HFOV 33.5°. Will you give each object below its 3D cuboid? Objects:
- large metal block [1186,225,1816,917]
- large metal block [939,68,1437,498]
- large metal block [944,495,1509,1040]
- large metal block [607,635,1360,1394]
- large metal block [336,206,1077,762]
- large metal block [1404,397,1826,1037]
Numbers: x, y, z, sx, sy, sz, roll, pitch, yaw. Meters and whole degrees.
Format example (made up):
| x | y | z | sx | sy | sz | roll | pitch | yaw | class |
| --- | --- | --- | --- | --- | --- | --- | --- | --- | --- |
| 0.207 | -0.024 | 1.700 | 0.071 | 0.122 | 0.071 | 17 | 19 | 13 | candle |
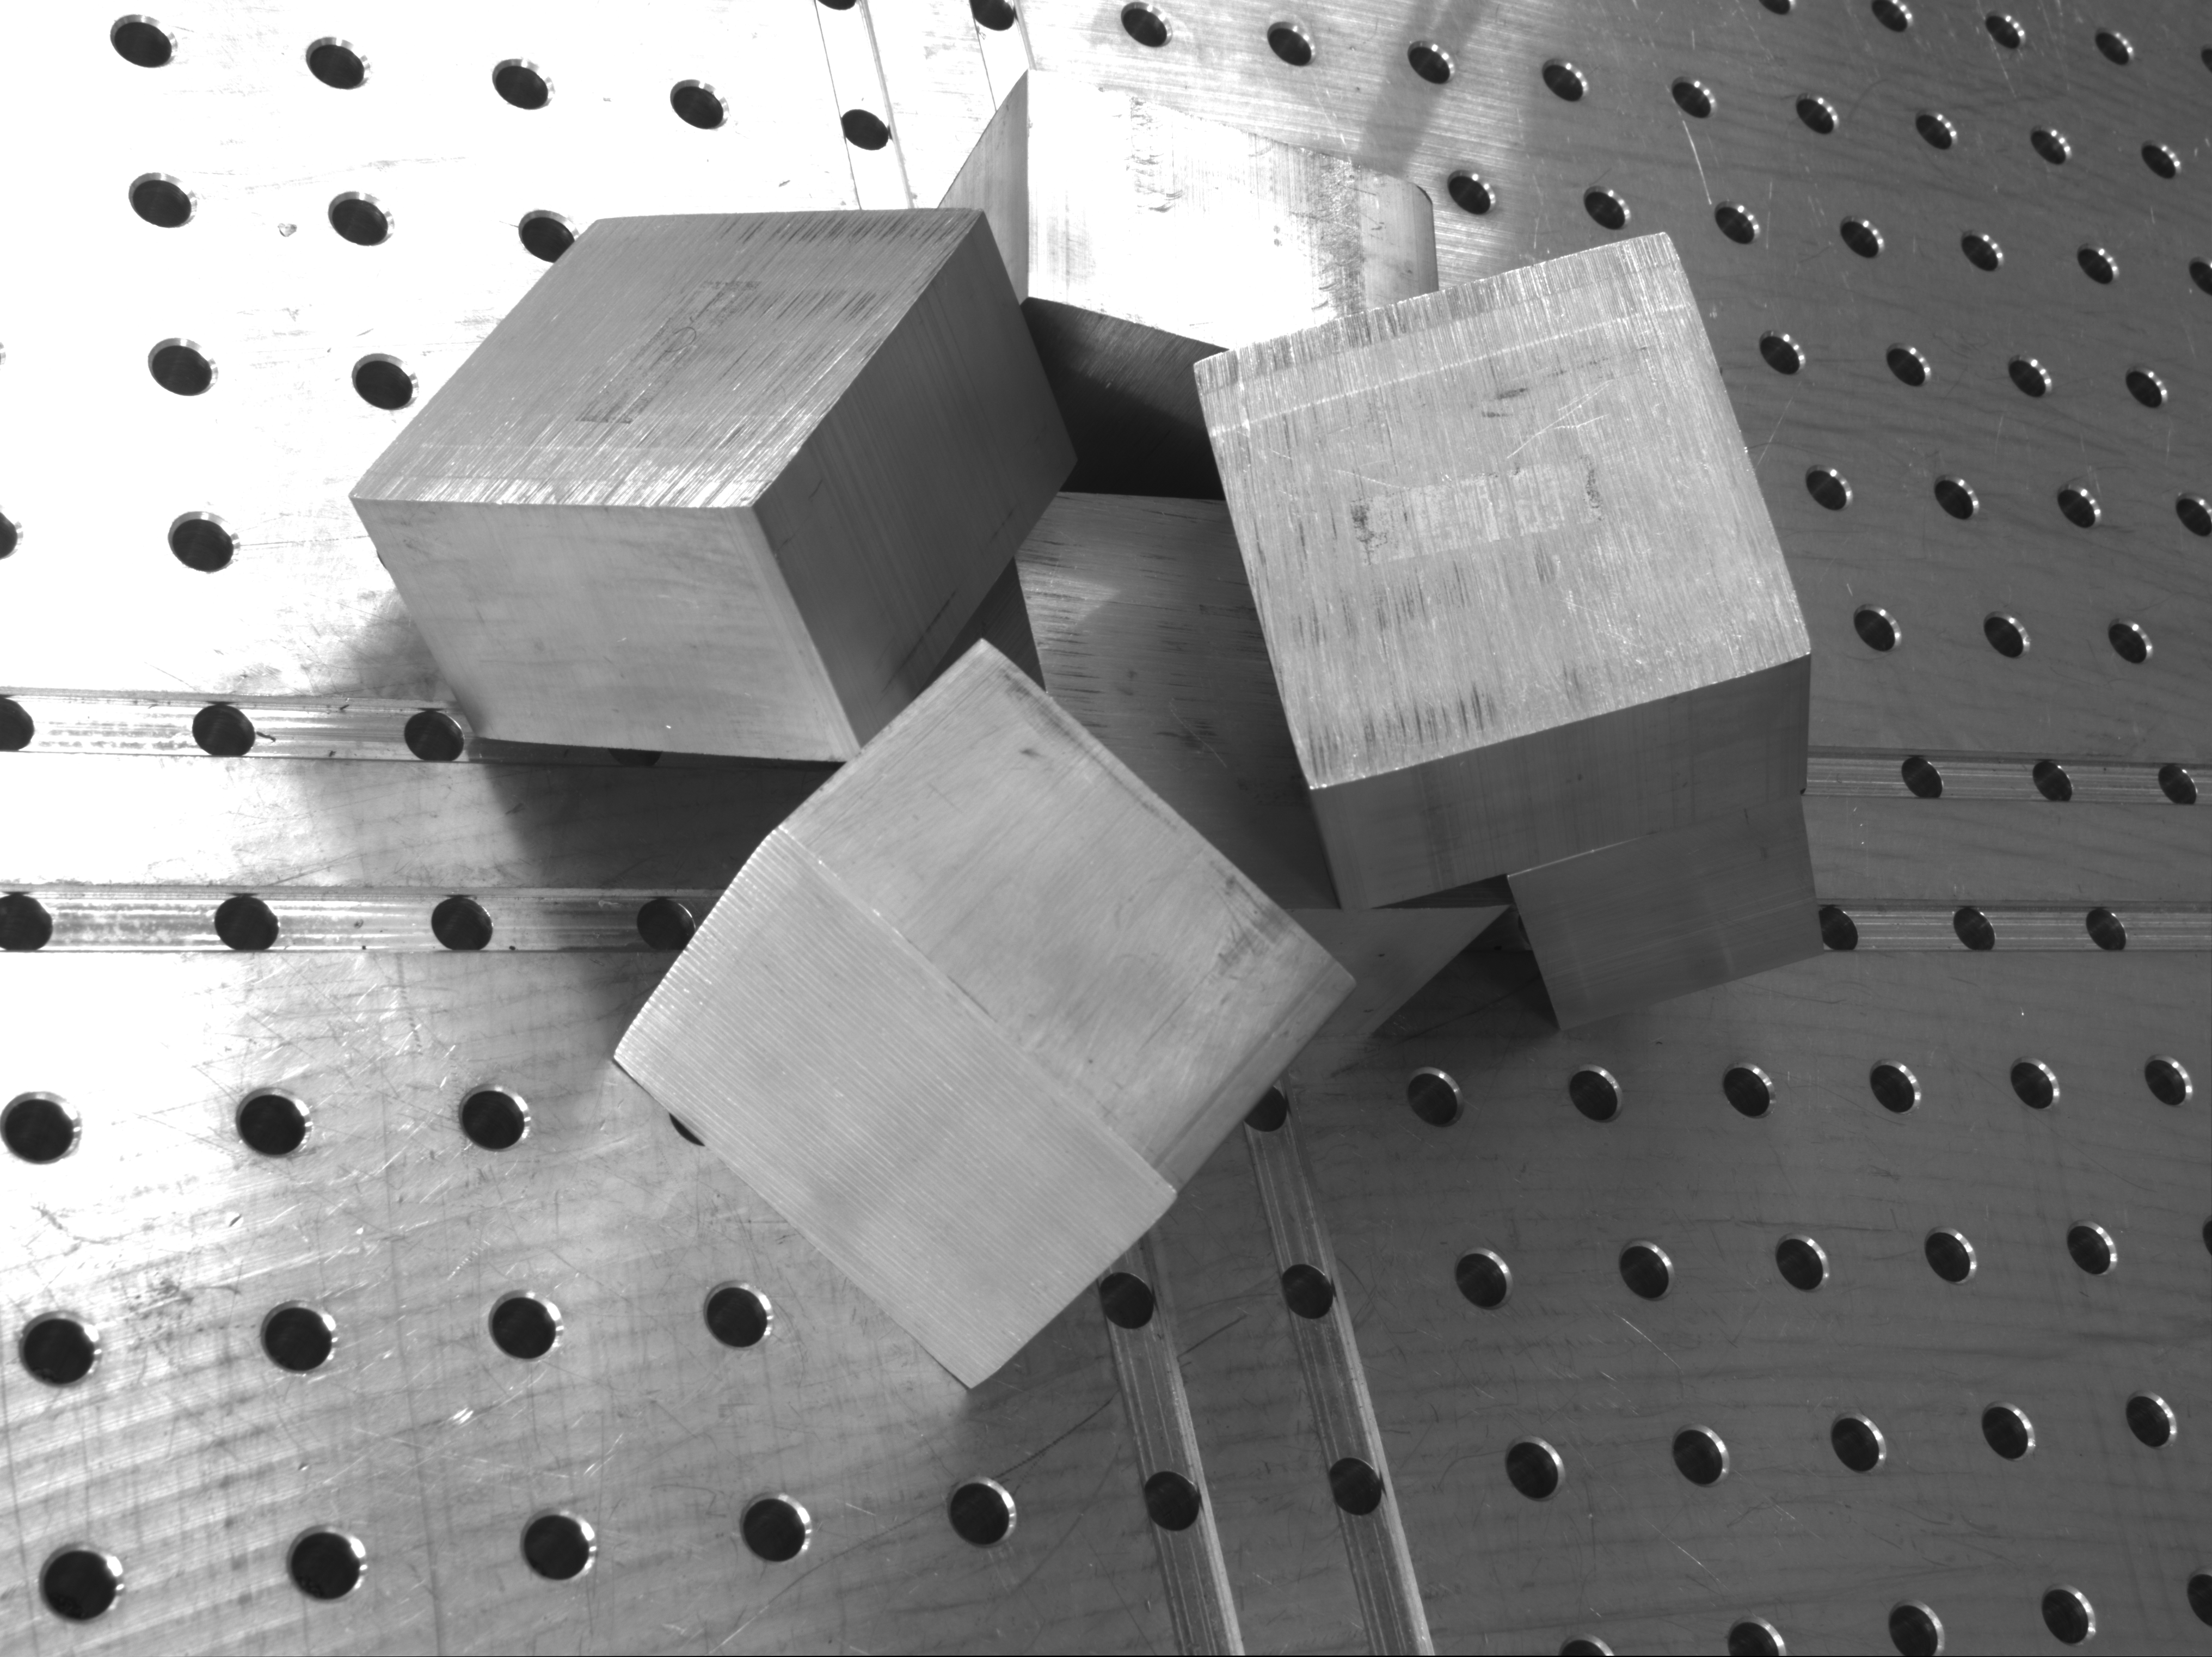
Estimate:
| x | y | z | sx | sy | sz | roll | pitch | yaw | class |
| --- | --- | --- | --- | --- | --- | --- | --- | --- | --- |
| 0.064 | -0.041 | 0.597 | 0.080 | 0.050 | 0.080 | -15 | 64 | 3 | large metal block |
| 0.006 | -0.082 | 0.660 | 0.080 | 0.080 | 0.050 | 12 | 56 | -21 | large metal block |
| 0.014 | -0.010 | 0.640 | 0.080 | 0.050 | 0.080 | 1 | 61 | -28 | large metal block |
| -0.021 | 0.031 | 0.576 | 0.080 | 0.080 | 0.050 | 43 | 50 | 1 | large metal block |
| -0.063 | -0.057 | 0.600 | 0.080 | 0.080 | 0.050 | -58 | 140 | -39 | large metal block |
| 0.091 | -0.019 | 0.657 | 0.050 | 0.080 | 0.080 | -17 | 64 | 6 | large metal block |
